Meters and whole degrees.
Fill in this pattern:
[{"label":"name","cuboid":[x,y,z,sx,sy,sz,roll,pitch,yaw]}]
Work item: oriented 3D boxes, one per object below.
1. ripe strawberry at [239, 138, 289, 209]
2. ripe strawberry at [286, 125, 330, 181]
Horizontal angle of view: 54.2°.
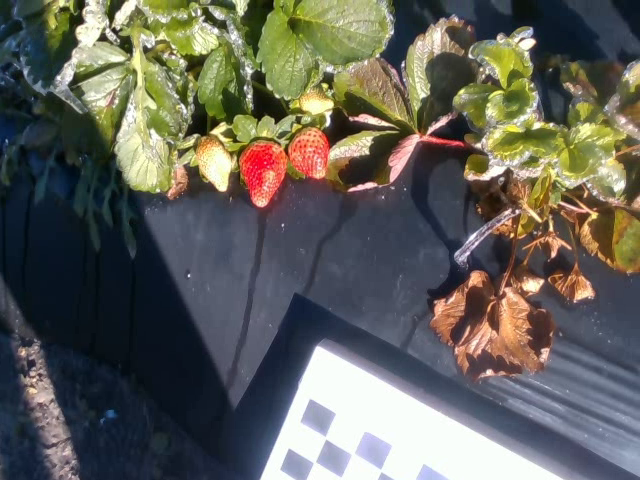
[{"label":"ripe strawberry","cuboid":[-0.041,-0.043,0.443,0.036,0.052,0.040,-13,-31,22]},{"label":"ripe strawberry","cuboid":[-0.005,-0.061,0.445,0.036,0.041,0.030,-40,-9,23]}]
